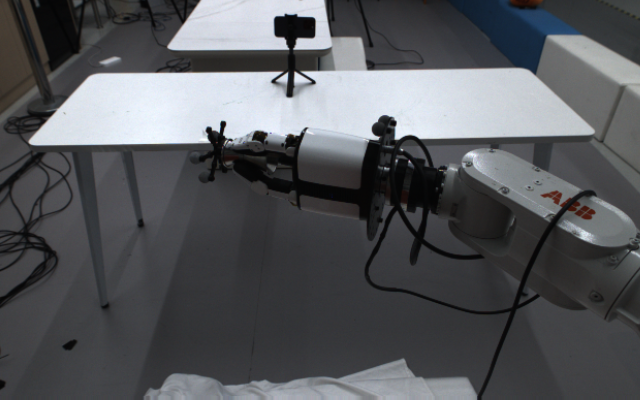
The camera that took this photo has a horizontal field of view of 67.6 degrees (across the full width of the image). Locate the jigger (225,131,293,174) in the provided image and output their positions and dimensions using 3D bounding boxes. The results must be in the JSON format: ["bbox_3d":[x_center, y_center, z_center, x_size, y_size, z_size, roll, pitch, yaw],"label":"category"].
[{"bbox_3d":[-0.094,-0.066,0.668,0.071,0.043,0.043,9,35,16],"label":"jigger"}]
